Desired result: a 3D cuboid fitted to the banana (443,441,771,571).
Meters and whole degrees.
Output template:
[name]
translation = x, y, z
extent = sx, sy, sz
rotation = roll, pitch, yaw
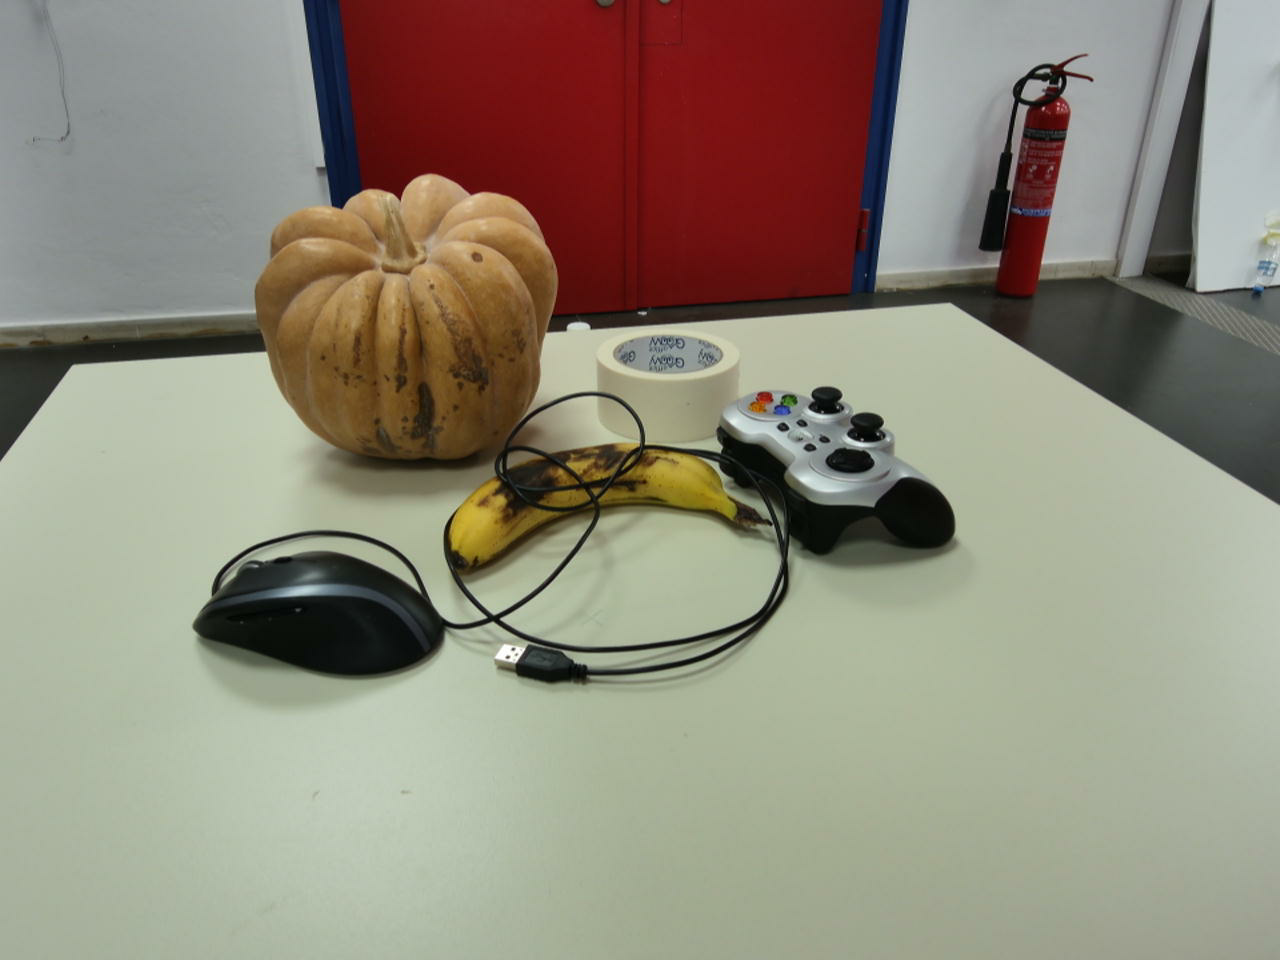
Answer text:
[banana]
translation = -0.026, 0.011, 0.600
extent = 0.187, 0.039, 0.094
rotation = -6, 27, -13
